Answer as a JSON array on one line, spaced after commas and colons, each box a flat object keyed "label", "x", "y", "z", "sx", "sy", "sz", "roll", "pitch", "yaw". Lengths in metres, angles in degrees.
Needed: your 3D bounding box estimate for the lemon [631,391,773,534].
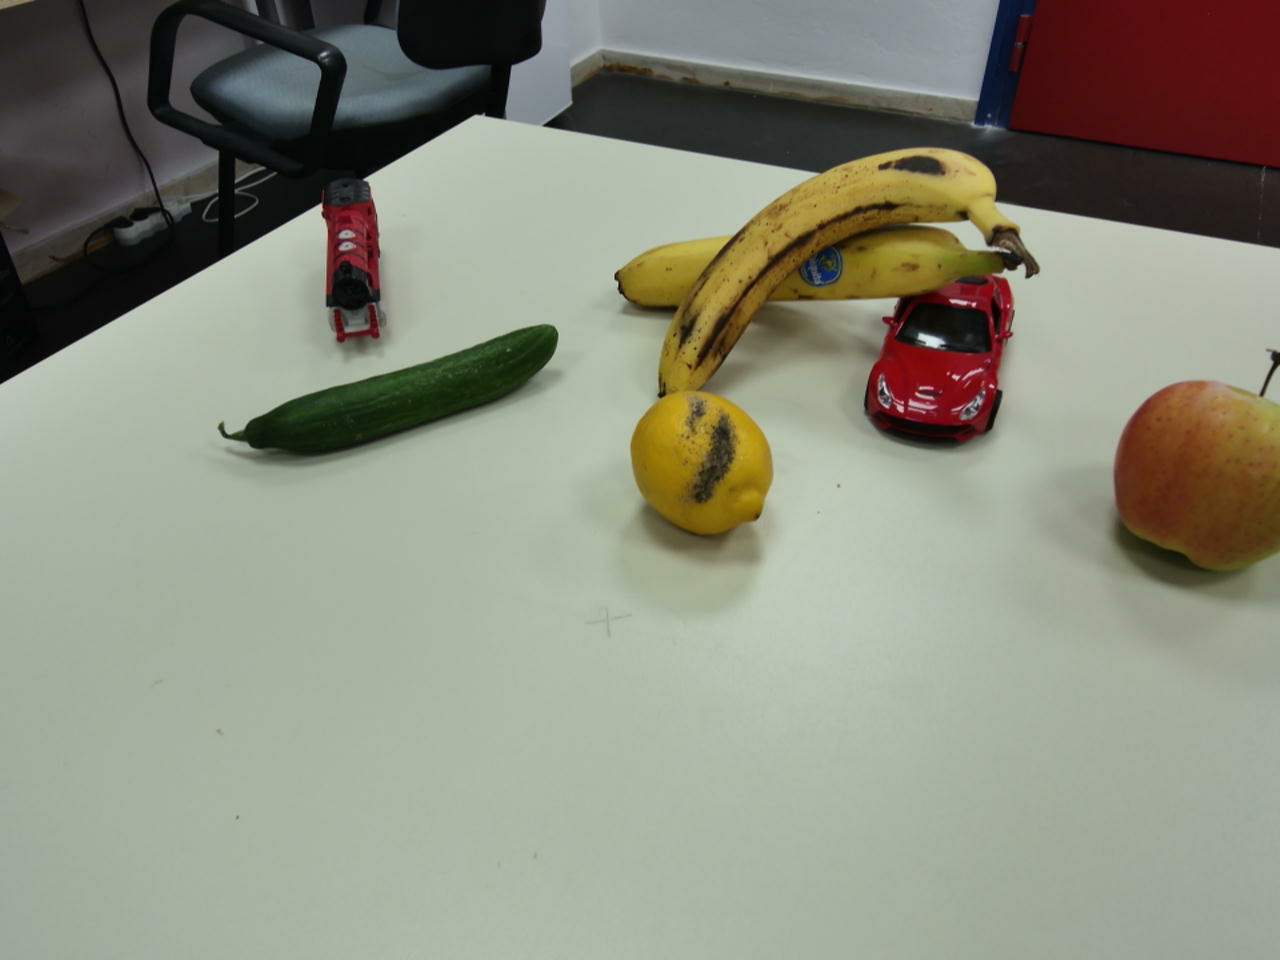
[{"label": "lemon", "x": 0.026, "y": -0.008, "z": 0.420, "sx": 0.061, "sy": 0.056, "sz": 0.058, "roll": 11, "pitch": 39, "yaw": 15}]
